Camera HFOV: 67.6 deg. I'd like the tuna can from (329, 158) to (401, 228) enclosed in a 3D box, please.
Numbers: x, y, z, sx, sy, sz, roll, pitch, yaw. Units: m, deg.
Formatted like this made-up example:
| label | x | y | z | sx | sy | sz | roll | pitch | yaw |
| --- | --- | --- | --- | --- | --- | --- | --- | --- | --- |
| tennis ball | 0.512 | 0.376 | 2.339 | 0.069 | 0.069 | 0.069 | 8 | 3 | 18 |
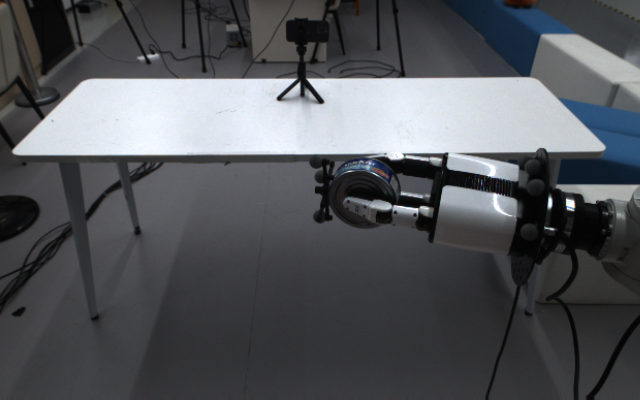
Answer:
| label | x | y | z | sx | sy | sz | roll | pitch | yaw |
| --- | --- | --- | --- | --- | --- | --- | --- | --- | --- |
| tuna can | 0.057 | -0.007 | 0.591 | 0.085 | 0.085 | 0.034 | 9 | 32 | 10 |
